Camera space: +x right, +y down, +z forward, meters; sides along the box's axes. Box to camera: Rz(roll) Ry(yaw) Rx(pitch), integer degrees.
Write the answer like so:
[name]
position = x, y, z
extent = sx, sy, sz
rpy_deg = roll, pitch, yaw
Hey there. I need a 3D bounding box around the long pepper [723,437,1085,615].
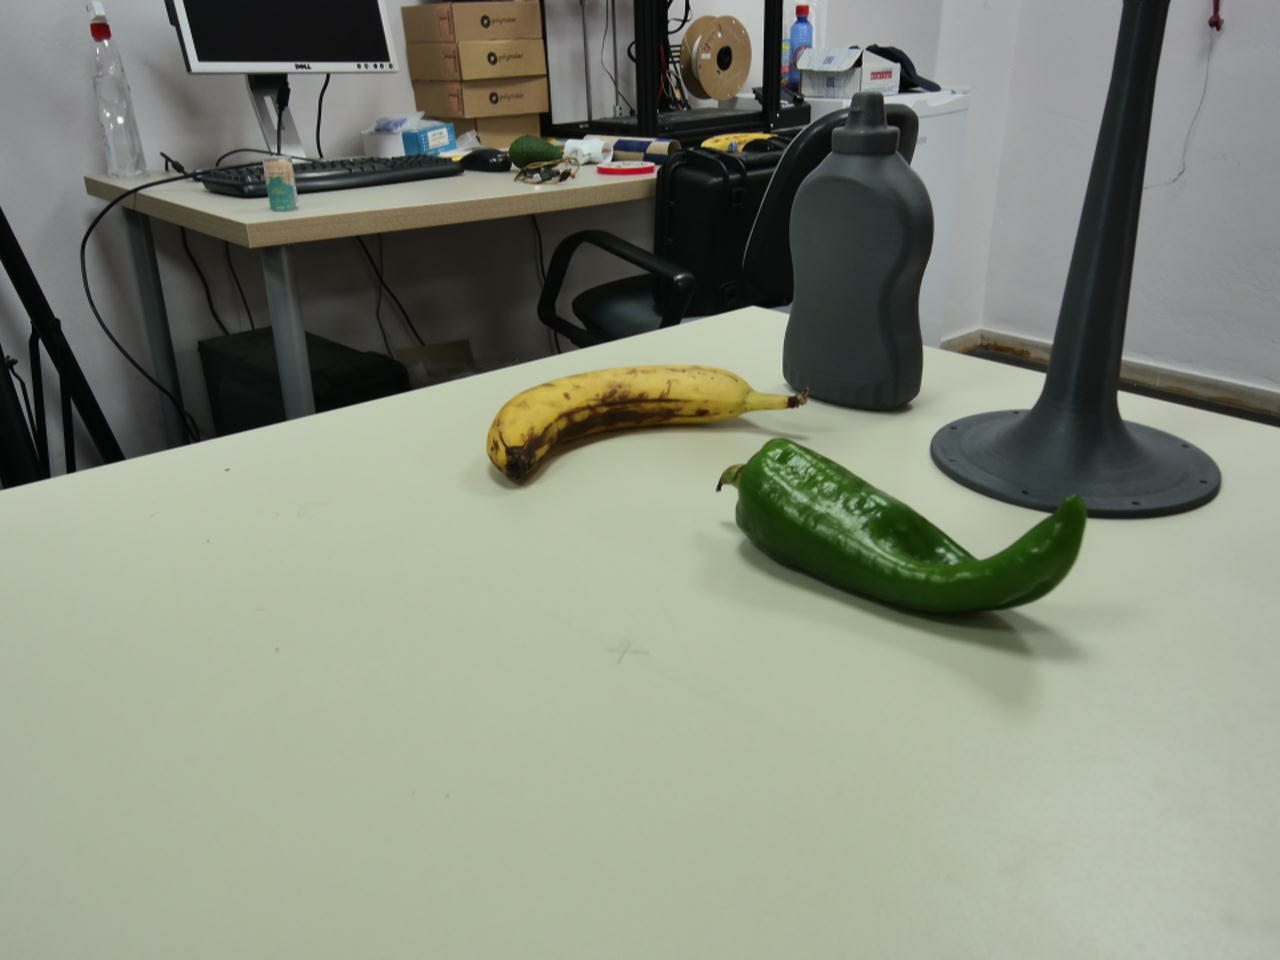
[long pepper]
position = 0.102, 0.015, 0.440
extent = 0.058, 0.065, 0.175
rpy_deg = -17, 28, -37
